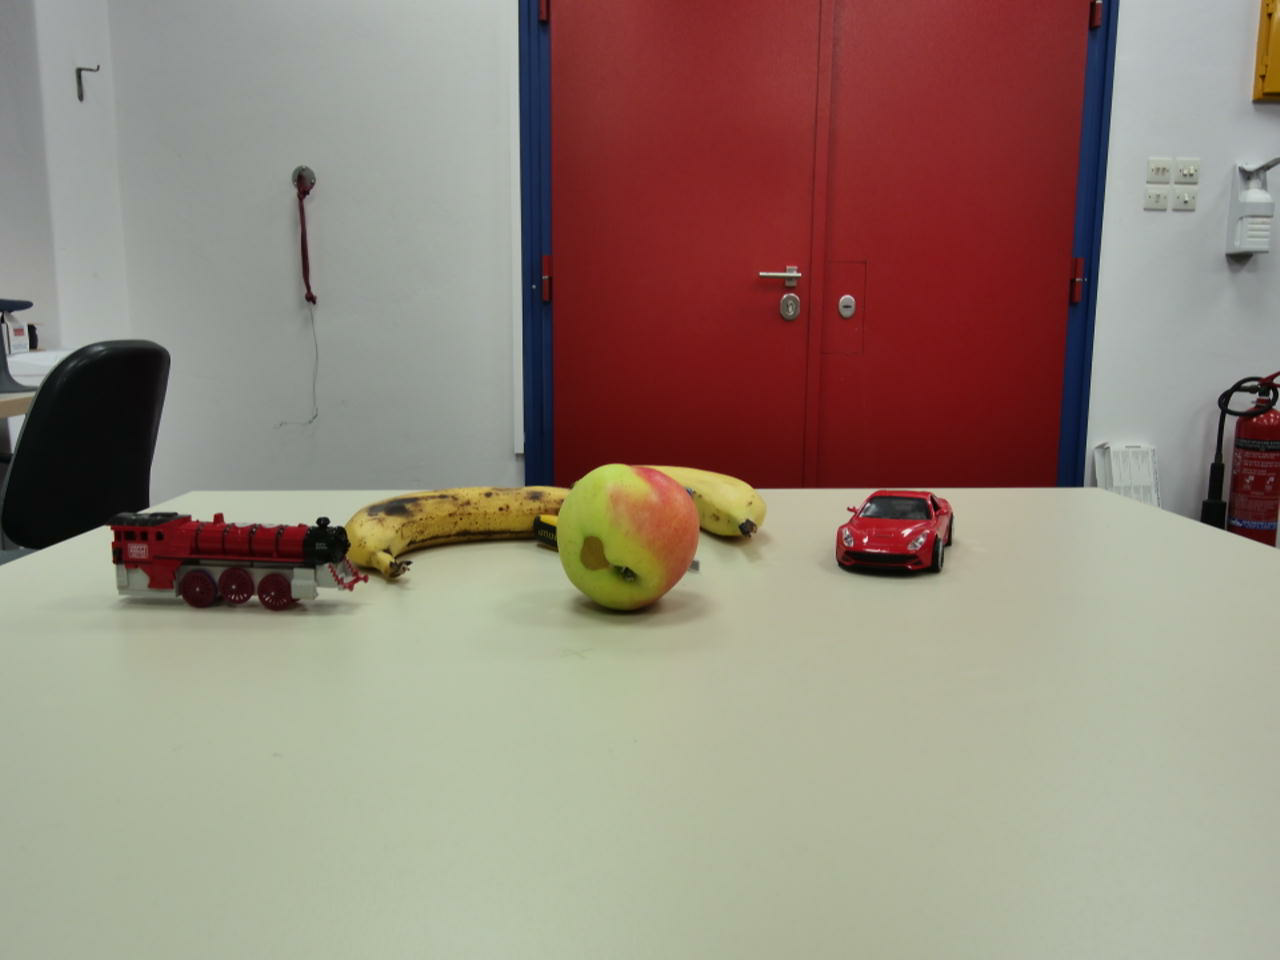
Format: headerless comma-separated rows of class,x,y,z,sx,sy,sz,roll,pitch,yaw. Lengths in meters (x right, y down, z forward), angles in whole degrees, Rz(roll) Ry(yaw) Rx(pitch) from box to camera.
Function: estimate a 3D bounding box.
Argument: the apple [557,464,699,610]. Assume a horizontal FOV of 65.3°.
apple,-0.005,0.029,0.523,0.075,0.074,0.075,-2,7,-20
